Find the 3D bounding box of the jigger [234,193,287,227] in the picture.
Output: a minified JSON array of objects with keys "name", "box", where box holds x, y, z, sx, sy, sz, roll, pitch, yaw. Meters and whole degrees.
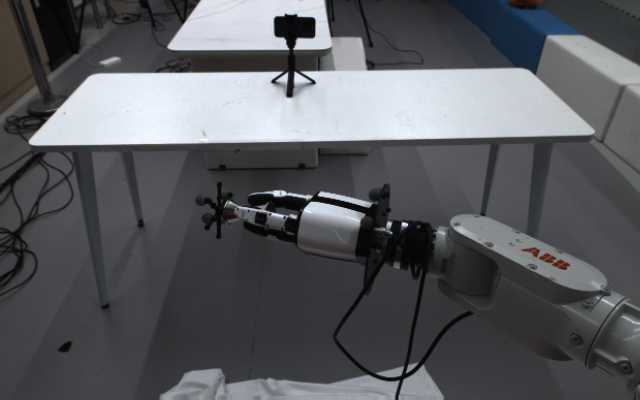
[{"name":"jigger","box":[-0.099,0.016,0.734,0.071,0.043,0.043,4,34,16]}]
